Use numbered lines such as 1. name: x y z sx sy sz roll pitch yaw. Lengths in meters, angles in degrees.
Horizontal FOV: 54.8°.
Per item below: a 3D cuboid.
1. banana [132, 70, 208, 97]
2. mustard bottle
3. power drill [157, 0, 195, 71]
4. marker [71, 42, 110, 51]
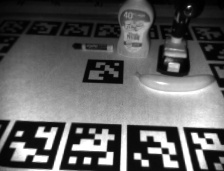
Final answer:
1. banana: 0.143 -0.003 0.550 0.196 0.039 0.074 7 47 9
2. mustard bottle: 0.058 -0.171 0.603 0.096 0.192 0.058 11 46 9
3. power drill: 0.158 -0.132 0.543 0.057 0.188 0.185 13 44 11
4. marker: -0.067 -0.122 0.675 0.121 0.020 0.019 4 46 3
